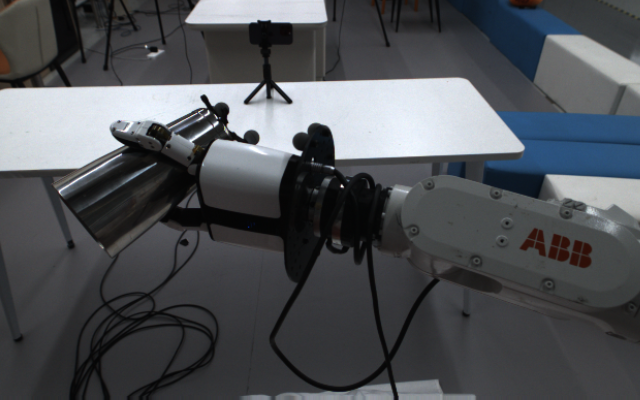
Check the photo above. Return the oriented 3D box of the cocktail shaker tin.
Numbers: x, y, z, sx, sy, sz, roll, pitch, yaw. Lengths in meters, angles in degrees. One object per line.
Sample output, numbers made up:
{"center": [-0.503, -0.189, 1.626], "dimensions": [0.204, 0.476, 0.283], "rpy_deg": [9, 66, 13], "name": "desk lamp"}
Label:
{"center": [-0.176, -0.031, 0.512], "dimensions": [0.170, 0.093, 0.093], "rpy_deg": [-38, 49, -24], "name": "cocktail shaker tin"}
